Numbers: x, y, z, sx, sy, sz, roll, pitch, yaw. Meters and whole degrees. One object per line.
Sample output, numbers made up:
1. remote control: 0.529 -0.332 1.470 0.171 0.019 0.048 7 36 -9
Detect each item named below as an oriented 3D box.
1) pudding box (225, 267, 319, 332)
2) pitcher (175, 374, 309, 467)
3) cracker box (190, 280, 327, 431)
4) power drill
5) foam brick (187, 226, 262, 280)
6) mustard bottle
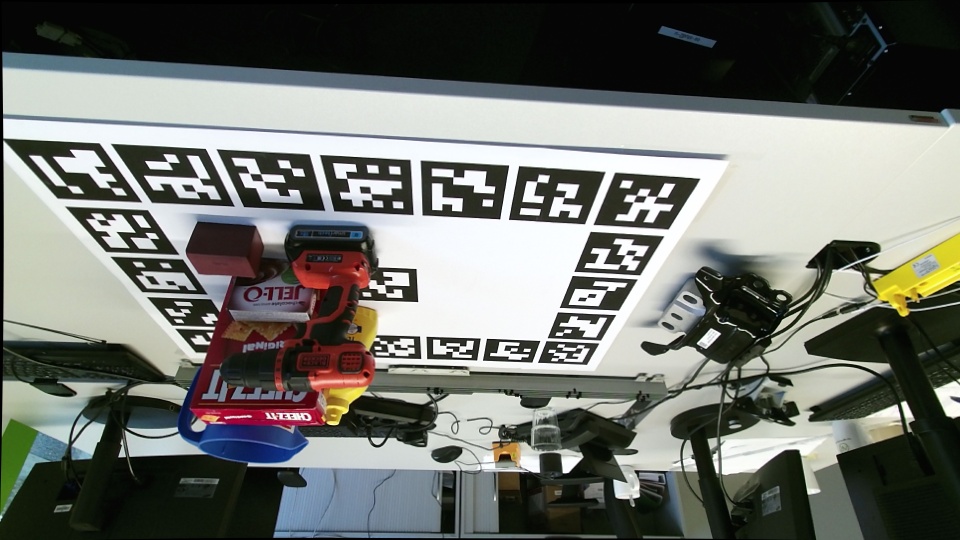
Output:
1. pudding box: -0.291 0.043 0.762 0.114 0.089 0.039 0 145 -6
2. pitcher: -0.356 0.177 0.847 0.189 0.241 0.133 4 144 -10
3. cracker box: -0.302 0.114 0.770 0.165 0.212 0.072 -1 146 -3
4. power drill: -0.224 0.064 0.676 0.185 0.186 0.057 2 147 -2
5. foam brick: -0.344 -0.023 0.726 0.078 0.051 0.053 3 142 -5
6. mustard bottle: -0.223 0.172 0.861 0.096 0.190 0.058 10 142 -14
